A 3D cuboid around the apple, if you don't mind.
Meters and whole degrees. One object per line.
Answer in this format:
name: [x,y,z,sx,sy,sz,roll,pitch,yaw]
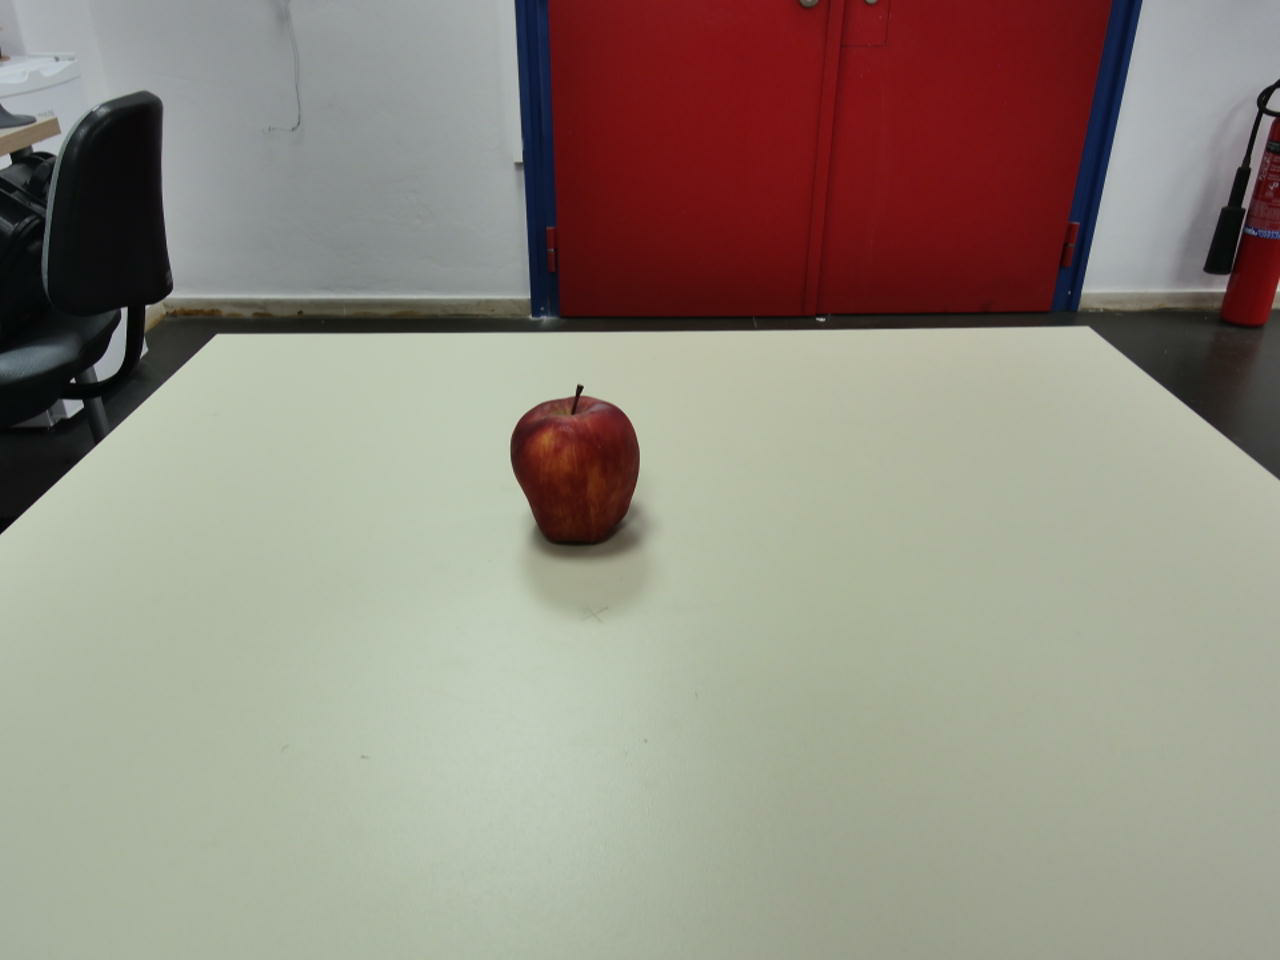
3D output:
apple: [-0.039,-0.012,0.583,0.083,0.090,0.083,-1,26,1]
